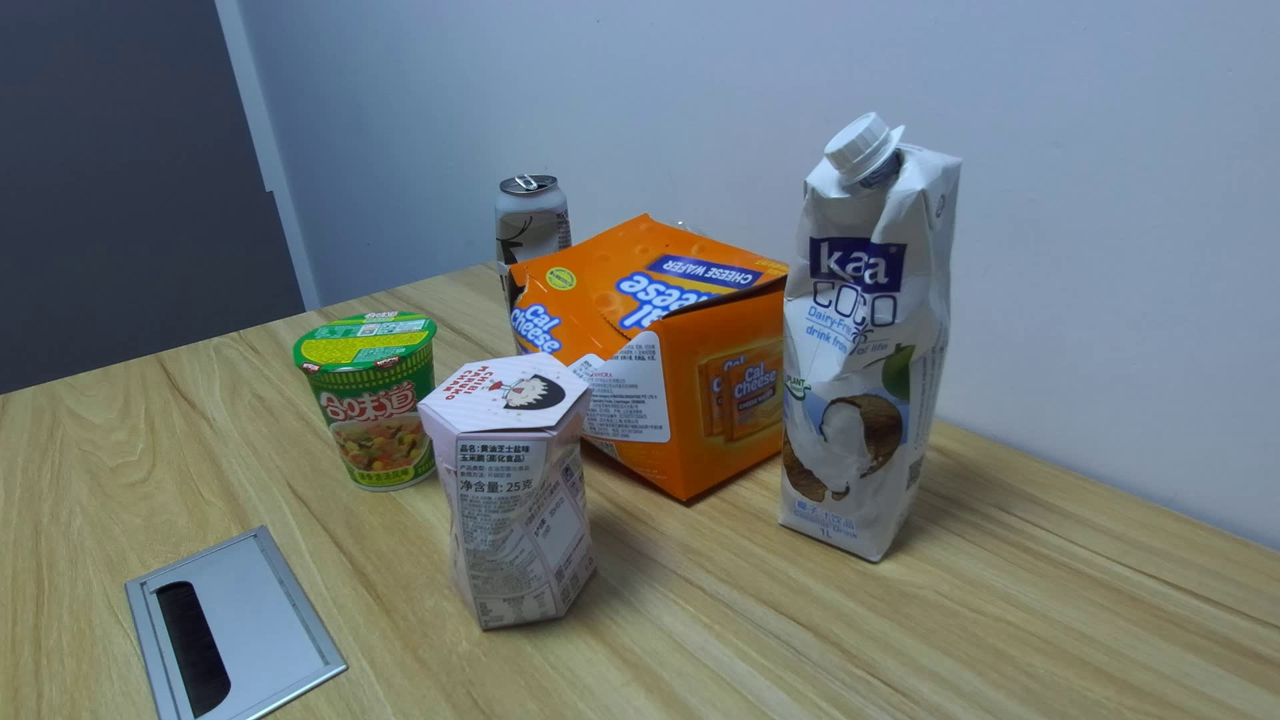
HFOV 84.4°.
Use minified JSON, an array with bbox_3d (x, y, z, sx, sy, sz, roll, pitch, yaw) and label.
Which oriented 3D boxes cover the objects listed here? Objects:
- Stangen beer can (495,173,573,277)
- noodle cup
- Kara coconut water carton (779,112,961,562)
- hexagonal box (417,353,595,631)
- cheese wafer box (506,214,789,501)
[{"bbox_3d":[-0.100,-0.093,0.690,0.070,0.173,0.070,-26,38,-34],"label":"Stangen beer can"},{"bbox_3d":[-0.191,0.033,0.520,0.097,0.110,0.097,-1,27,1],"label":"noodle cup"},{"bbox_3d":[0.125,-0.010,0.404,0.079,0.256,0.083,-26,34,-34],"label":"Kara coconut water carton"},{"bbox_3d":[-0.066,0.073,0.398,0.091,0.134,0.089,-16,32,-24],"label":"hexagonal box"},{"bbox_3d":[0.005,-0.015,0.554,0.192,0.145,0.218,-22,32,-34],"label":"cheese wafer box"}]
